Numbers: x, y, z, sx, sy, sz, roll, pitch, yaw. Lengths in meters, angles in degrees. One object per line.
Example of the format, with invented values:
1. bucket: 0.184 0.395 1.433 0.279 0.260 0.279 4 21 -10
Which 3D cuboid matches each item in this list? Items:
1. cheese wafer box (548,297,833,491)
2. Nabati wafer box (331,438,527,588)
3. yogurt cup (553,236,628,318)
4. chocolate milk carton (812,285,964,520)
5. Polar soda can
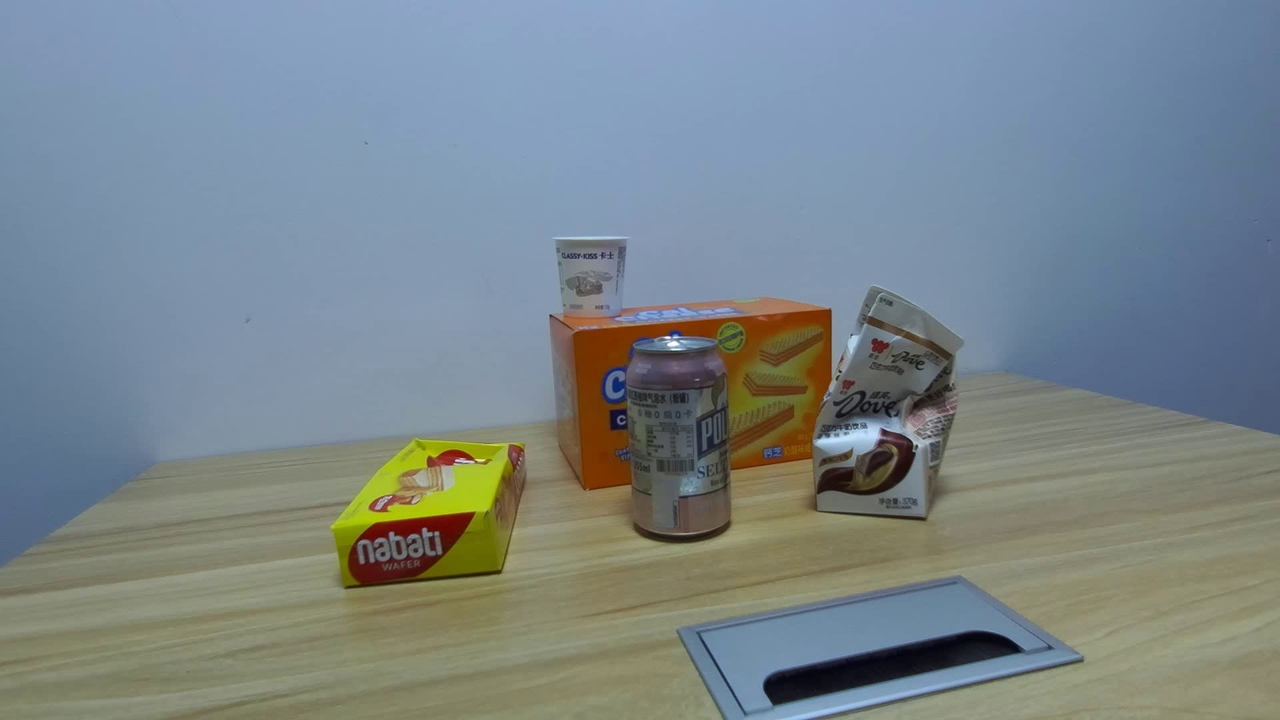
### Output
1. cheese wafer box: 0.041 0.020 0.632 0.222 0.129 0.148 -5 10 -15
2. Nabati wafer box: -0.137 0.094 0.506 0.096 0.042 0.203 -6 9 -3
3. yogurt cup: -0.042 -0.074 0.629 0.072 0.068 0.072 -1 10 0
4. chocolate milk carton: 0.169 0.030 0.481 0.089 0.155 0.077 14 18 13
5. Polar soda can: 0.025 0.050 0.464 0.067 0.125 0.067 -2 9 1
